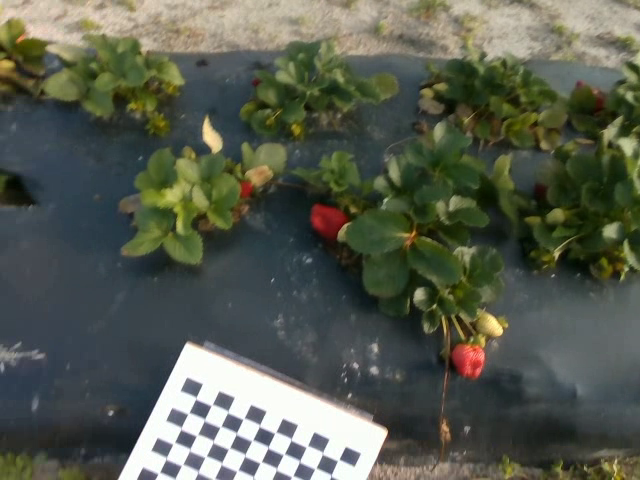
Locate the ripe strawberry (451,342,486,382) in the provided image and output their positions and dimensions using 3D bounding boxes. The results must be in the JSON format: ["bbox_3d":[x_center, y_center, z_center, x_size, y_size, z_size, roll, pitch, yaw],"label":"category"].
[{"bbox_3d":[0.207,0.170,0.885,0.048,0.050,0.034,3,-13,-4],"label":"ripe strawberry"}]

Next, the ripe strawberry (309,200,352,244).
[{"bbox_3d":[0.009,-0.026,0.992,0.071,0.058,0.057,38,-10,-25],"label":"ripe strawberry"}]
